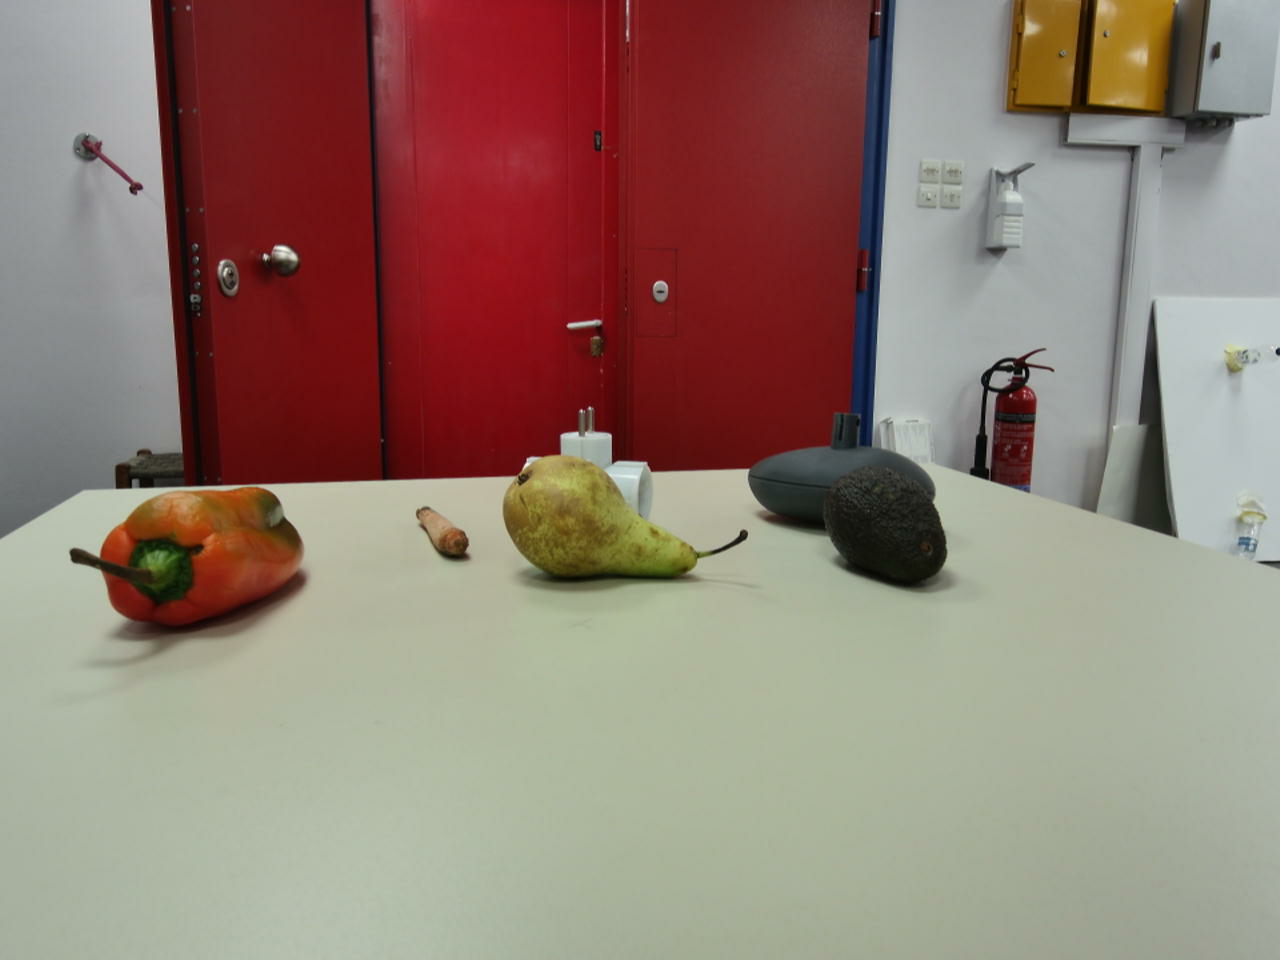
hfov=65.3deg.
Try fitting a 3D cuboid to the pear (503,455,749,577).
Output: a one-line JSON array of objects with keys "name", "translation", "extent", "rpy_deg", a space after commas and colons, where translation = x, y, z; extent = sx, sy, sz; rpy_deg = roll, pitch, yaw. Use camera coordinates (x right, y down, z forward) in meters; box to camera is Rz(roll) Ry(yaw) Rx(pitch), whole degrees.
[{"name": "pear", "translation": [-0.011, 0.022, 0.613], "extent": [0.144, 0.075, 0.071], "rpy_deg": [-1, 8, -5]}]
